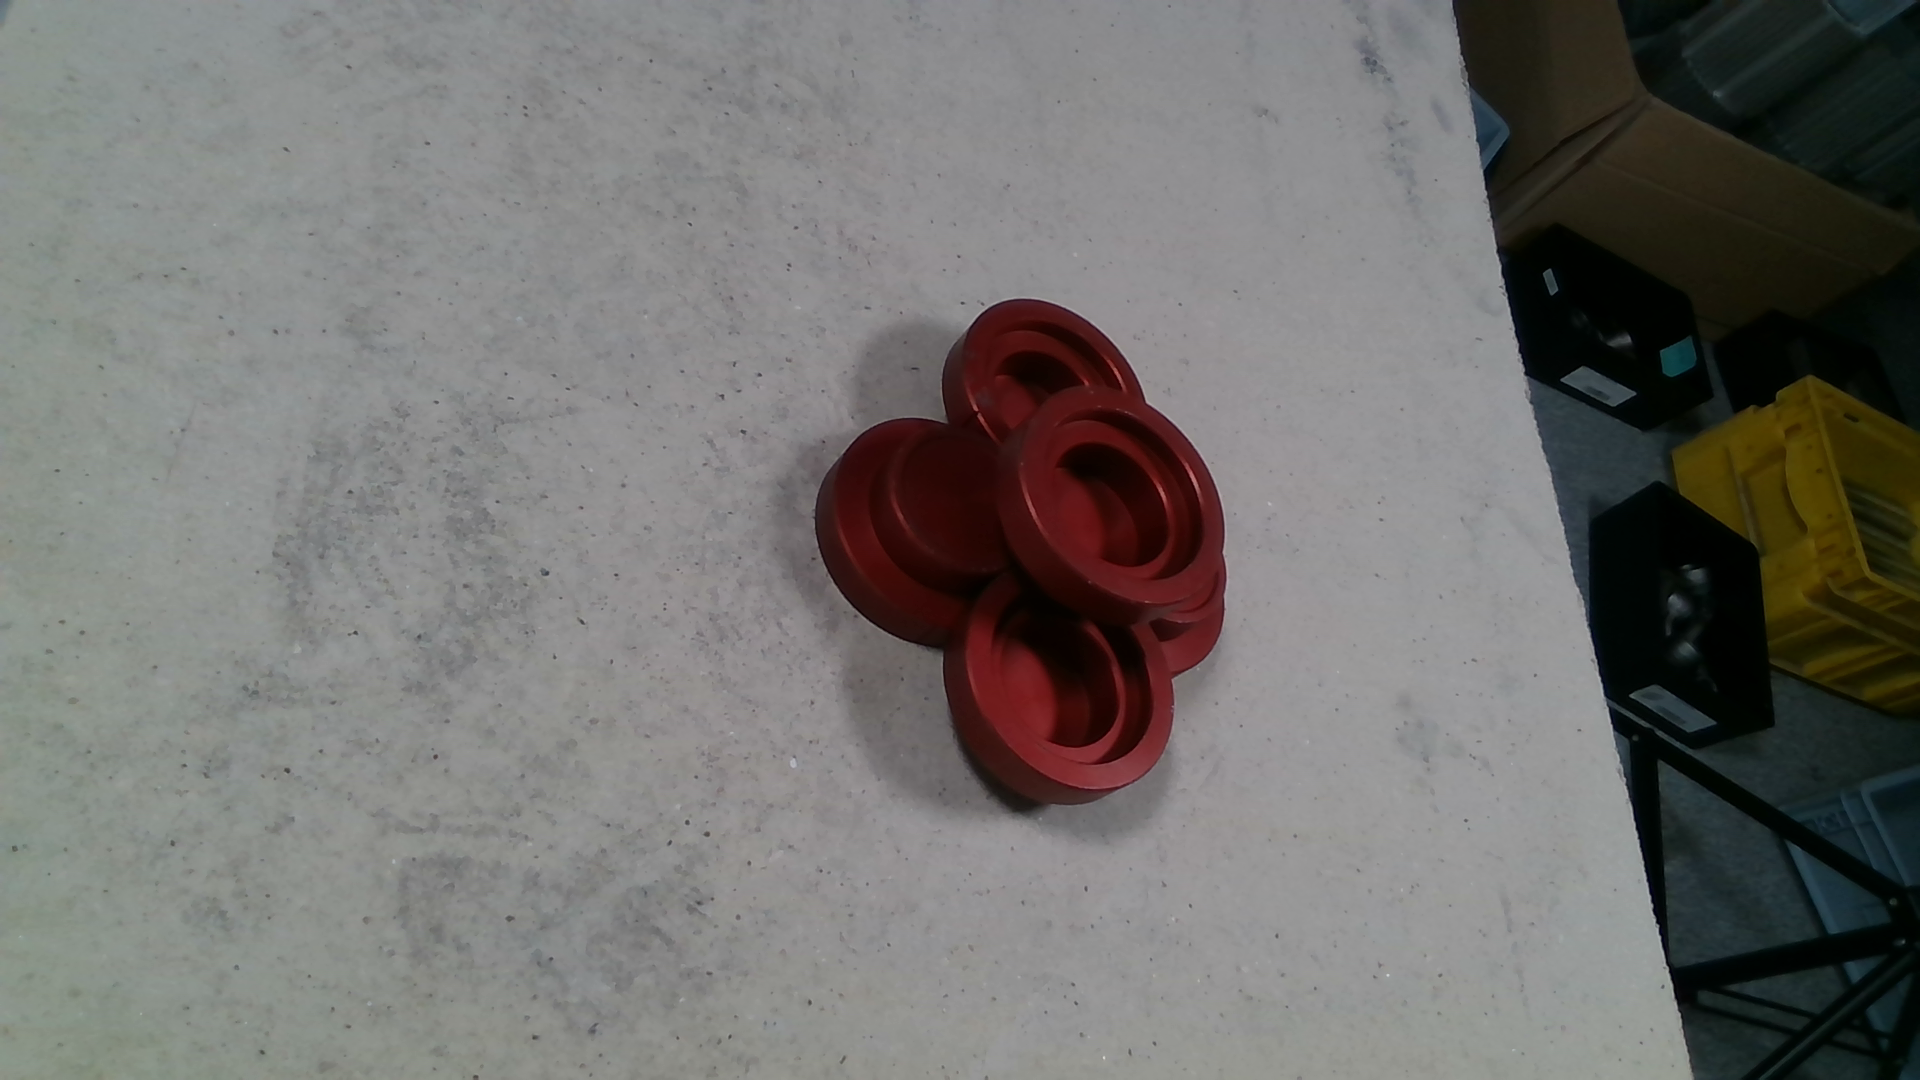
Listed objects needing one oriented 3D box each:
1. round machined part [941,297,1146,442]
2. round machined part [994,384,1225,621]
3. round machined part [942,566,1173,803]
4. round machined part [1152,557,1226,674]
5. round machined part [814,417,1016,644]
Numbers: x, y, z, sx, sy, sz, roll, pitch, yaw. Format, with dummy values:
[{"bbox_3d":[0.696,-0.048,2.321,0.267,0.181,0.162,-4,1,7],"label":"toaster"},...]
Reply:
[{"bbox_3d":[0.034,-0.058,0.628,0.098,0.042,0.098,14,59,-25],"label":"round machined part"},{"bbox_3d":[0.056,-0.011,0.561,0.098,0.042,0.098,14,59,-25],"label":"round machined part"},{"bbox_3d":[0.036,0.061,0.564,0.098,0.042,0.098,14,59,-25],"label":"round machined part"},{"bbox_3d":[0.080,0.014,0.617,0.098,0.042,0.098,14,59,-25],"label":"round machined part"},{"bbox_3d":[-0.008,-0.009,0.575,0.098,0.042,0.098,14,59,-25],"label":"round machined part"}]
